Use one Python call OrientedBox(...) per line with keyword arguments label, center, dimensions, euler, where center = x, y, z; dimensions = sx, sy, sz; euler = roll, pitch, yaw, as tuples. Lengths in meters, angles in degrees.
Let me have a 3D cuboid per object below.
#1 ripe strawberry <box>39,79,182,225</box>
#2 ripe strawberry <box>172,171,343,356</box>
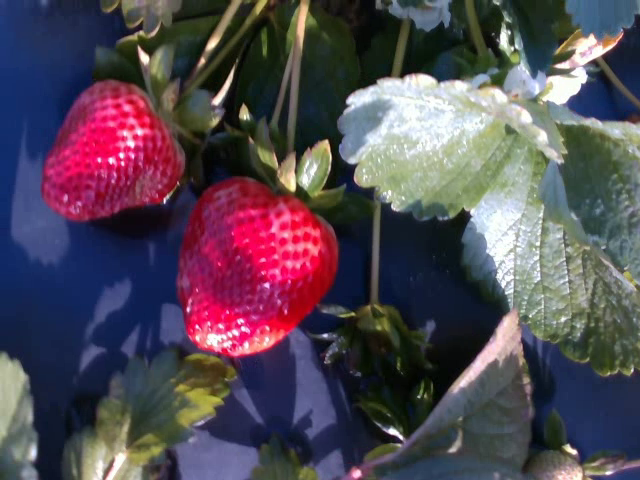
OrientedBox(label="ripe strawberry", center=(-0.065, -0.023, 0.184), dimensions=(0.043, 0.052, 0.037), euler=(8, -33, 24))
OrientedBox(label="ripe strawberry", center=(-0.021, 0.011, 0.182), dimensions=(0.052, 0.058, 0.046), euler=(17, -32, 21))
